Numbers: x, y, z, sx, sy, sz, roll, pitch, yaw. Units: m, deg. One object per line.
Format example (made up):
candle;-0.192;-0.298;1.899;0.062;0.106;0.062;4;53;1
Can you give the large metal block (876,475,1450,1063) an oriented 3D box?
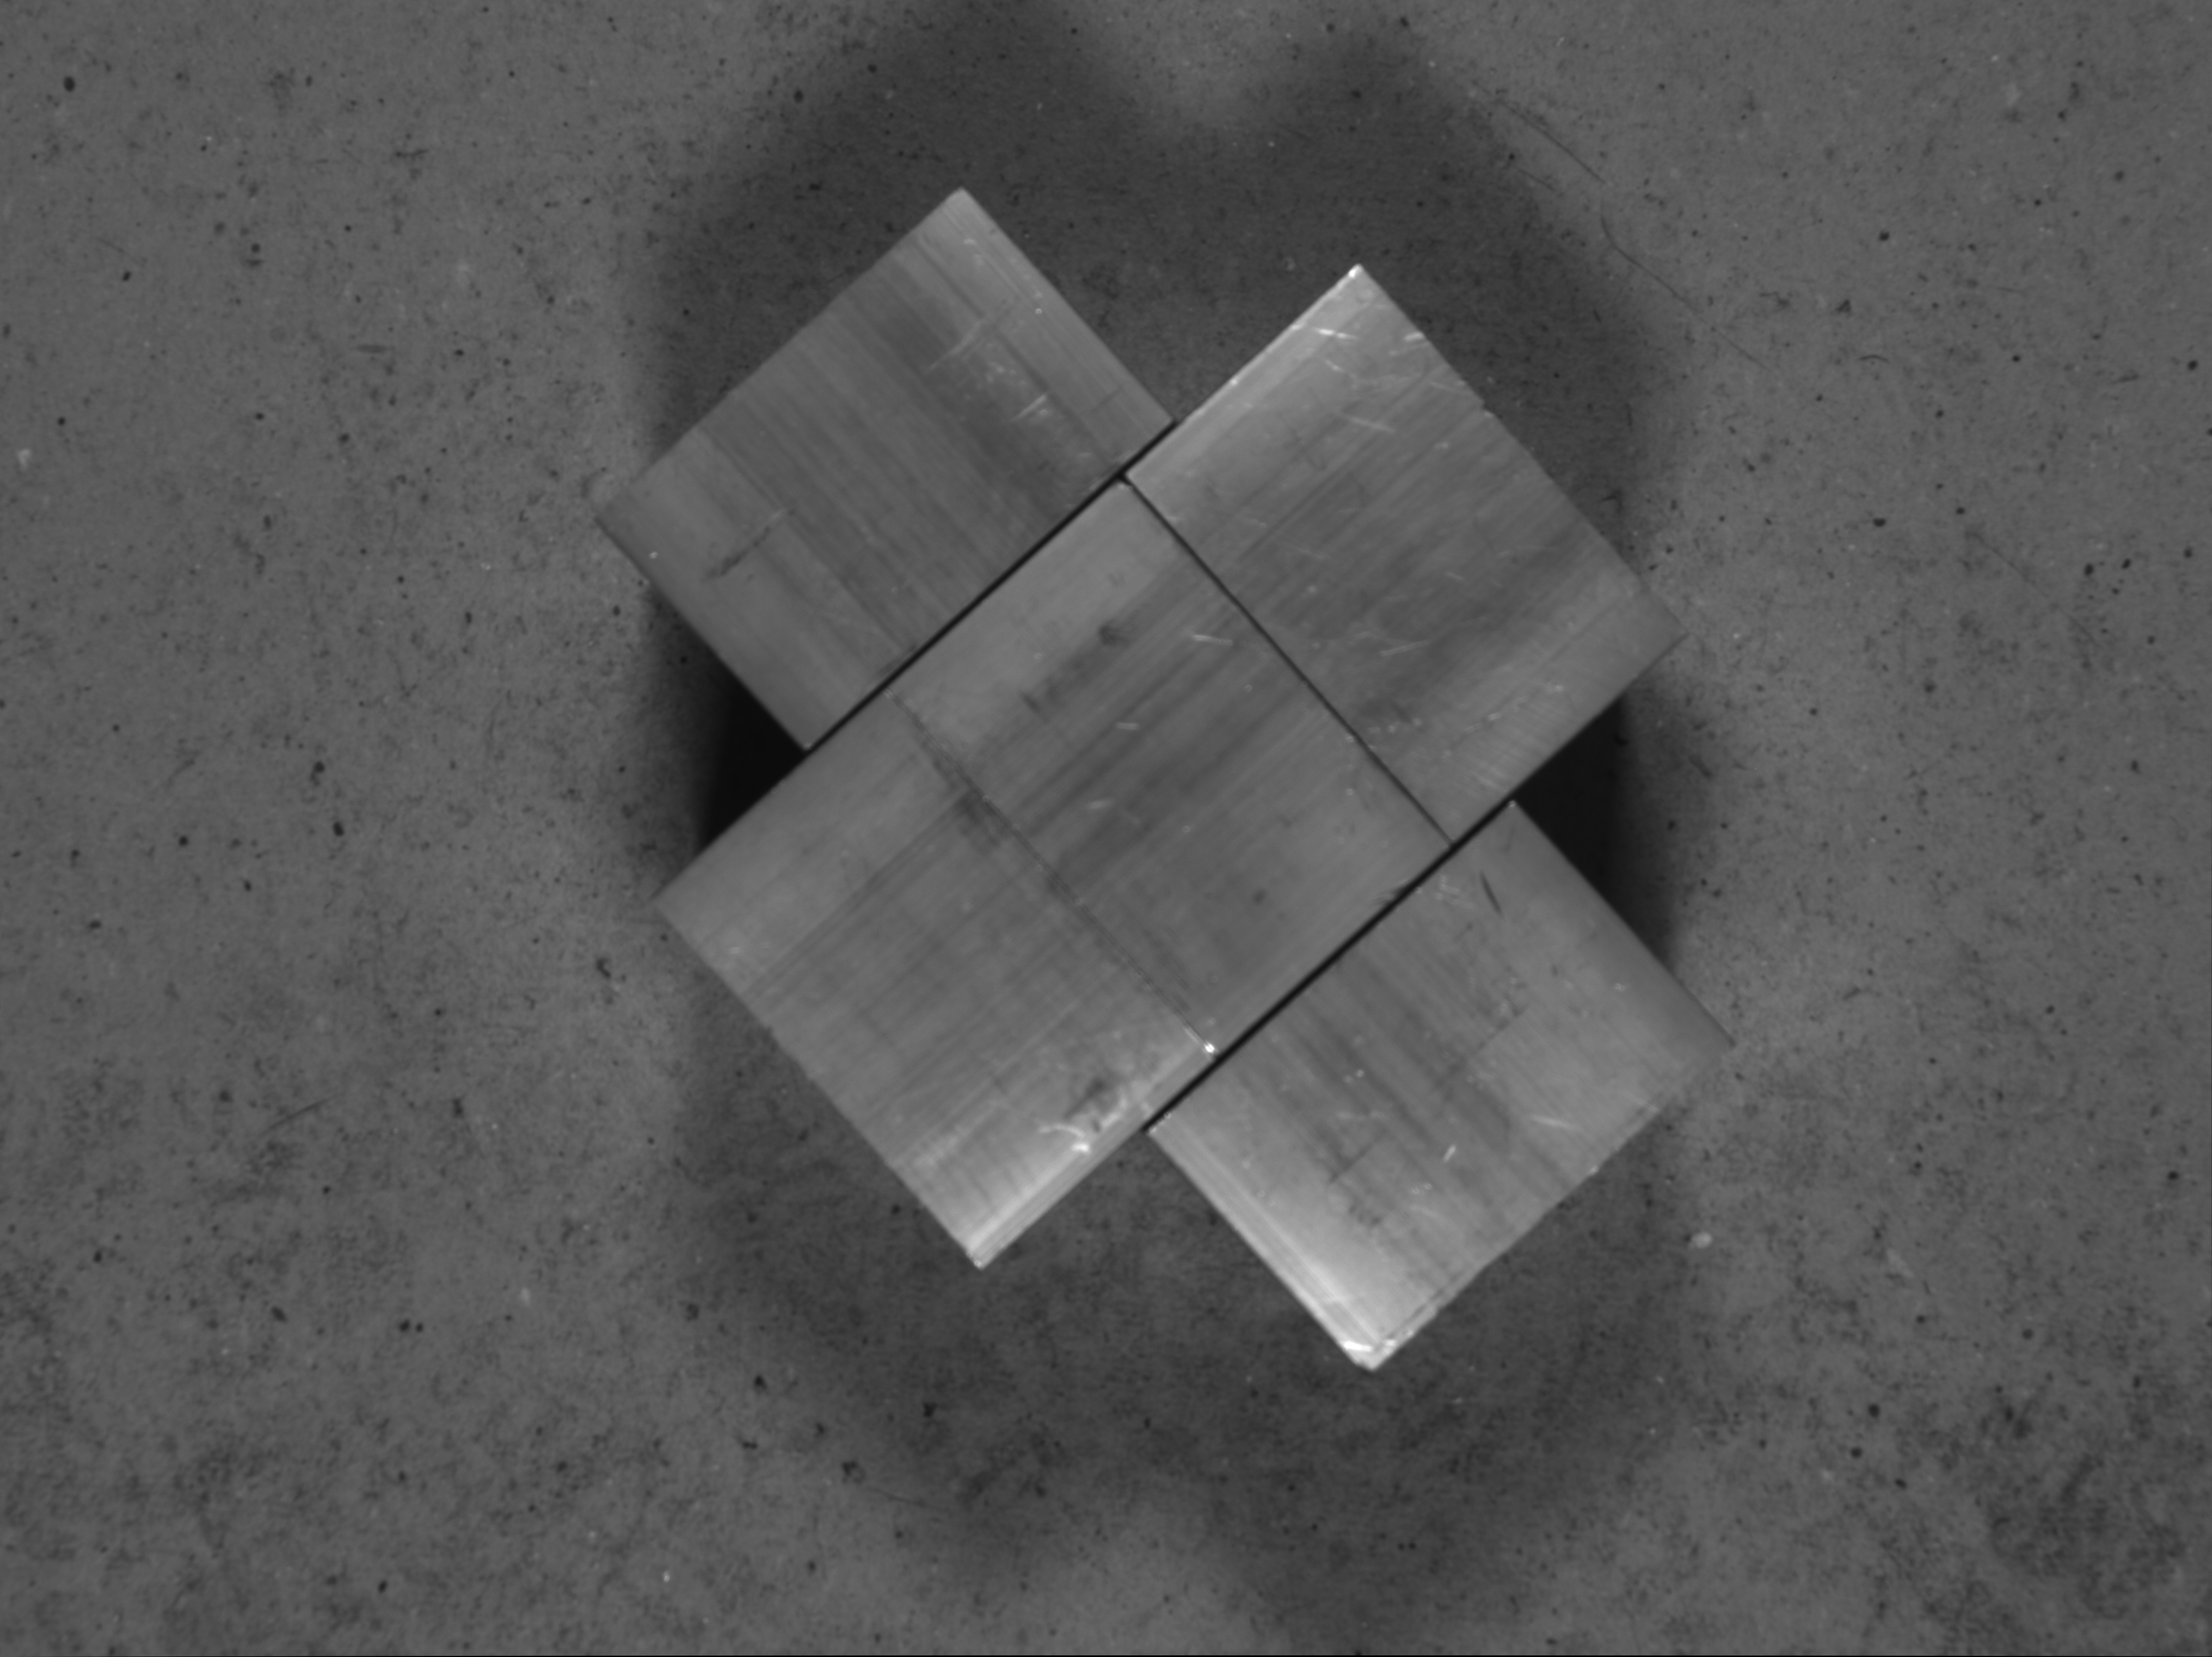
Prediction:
large metal block;0.009;-0.009;0.618;0.050;0.080;0.080;-42;90;0

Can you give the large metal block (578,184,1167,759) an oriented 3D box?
large metal block;-0.037;-0.056;0.618;0.080;0.080;0.050;-42;90;0

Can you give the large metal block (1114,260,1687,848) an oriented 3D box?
large metal block;0.046;-0.043;0.619;0.050;0.080;0.080;-42;90;0

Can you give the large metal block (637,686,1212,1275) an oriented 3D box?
large metal block;-0.029;0.024;0.618;0.050;0.080;0.080;-42;90;0

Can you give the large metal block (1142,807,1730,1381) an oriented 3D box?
large metal block;0.052;0.042;0.619;0.080;0.080;0.050;-42;90;0
